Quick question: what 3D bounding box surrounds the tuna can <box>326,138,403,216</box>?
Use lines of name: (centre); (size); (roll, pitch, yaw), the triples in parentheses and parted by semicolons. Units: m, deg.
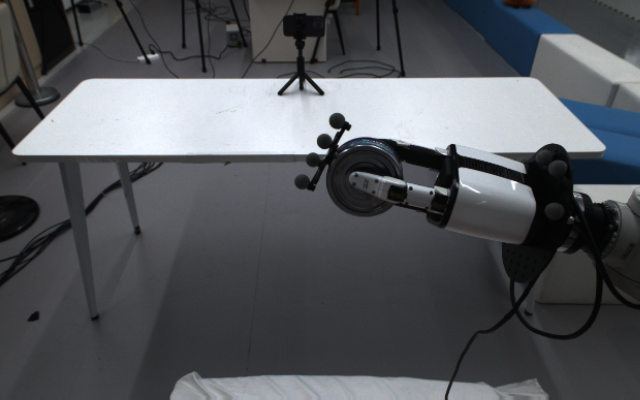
tuna can: (0.053, -0.028, 0.544); (0.085, 0.085, 0.034); (3, 20, 1)
